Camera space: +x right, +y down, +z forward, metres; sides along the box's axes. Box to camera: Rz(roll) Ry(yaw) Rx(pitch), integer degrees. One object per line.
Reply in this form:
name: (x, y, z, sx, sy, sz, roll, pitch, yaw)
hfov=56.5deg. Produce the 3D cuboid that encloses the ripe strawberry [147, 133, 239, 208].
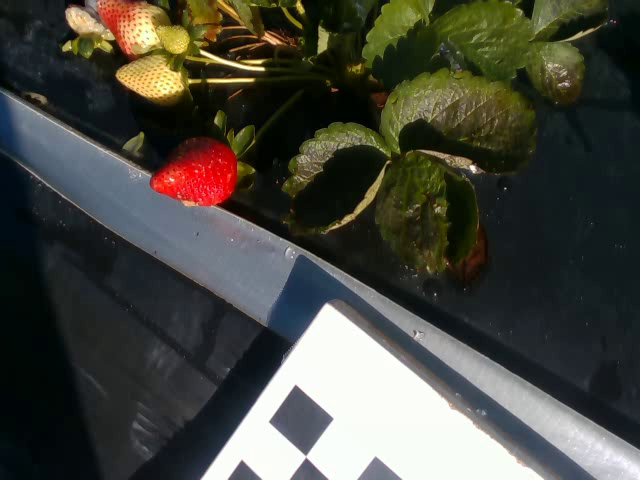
ripe strawberry: (-0.055, -0.027, 0.245, 0.036, 0.038, 0.045, 37, 27, 18)
